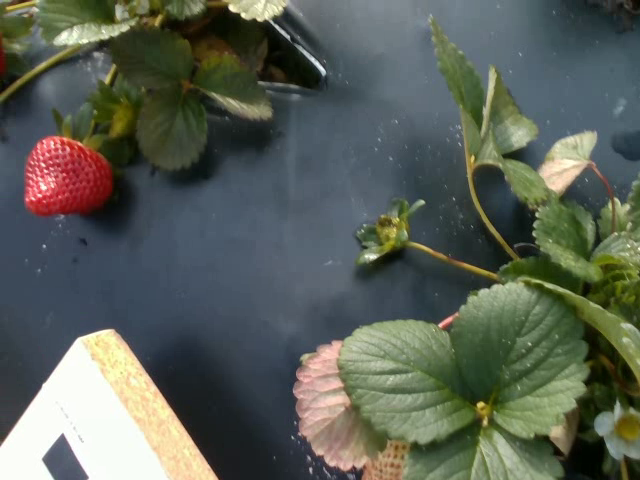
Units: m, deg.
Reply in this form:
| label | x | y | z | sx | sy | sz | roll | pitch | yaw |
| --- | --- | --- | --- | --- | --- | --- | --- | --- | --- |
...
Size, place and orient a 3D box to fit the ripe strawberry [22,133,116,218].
| label | x | y | z | sx | sy | sz | roll | pitch | yaw |
| --- | --- | --- | --- | --- | --- | --- | --- | --- | --- |
| ripe strawberry | -0.093 | -0.020 | 0.194 | 0.037 | 0.034 | 0.039 | -32 | 15 | 40 |
